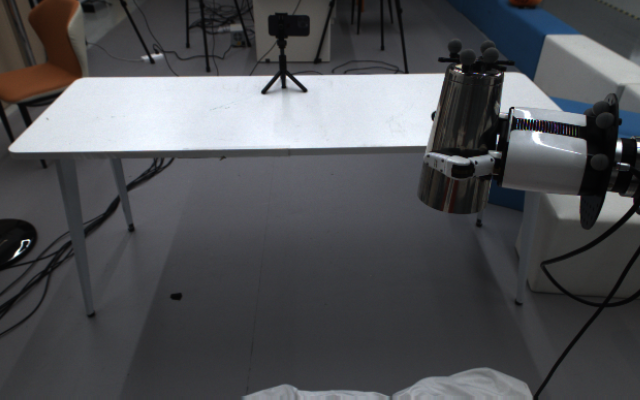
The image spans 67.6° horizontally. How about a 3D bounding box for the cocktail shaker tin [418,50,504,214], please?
[{"bbox_3d":[0.181,-0.080,0.608,0.093,0.170,0.093,2,28,-1],"label":"cocktail shaker tin"}]
